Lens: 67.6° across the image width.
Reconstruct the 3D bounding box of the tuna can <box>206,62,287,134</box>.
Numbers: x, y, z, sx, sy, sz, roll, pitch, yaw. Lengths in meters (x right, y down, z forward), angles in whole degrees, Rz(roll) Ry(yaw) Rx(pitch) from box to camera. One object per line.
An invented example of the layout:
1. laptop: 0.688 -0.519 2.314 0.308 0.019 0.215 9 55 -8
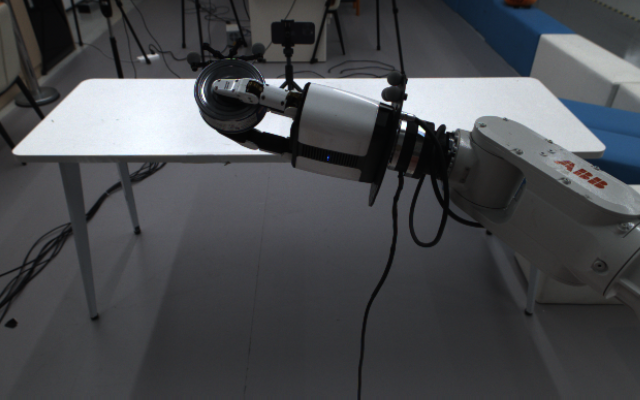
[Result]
1. tuna can: -0.101 -0.120 0.577 0.085 0.034 0.085 0 72 -1
